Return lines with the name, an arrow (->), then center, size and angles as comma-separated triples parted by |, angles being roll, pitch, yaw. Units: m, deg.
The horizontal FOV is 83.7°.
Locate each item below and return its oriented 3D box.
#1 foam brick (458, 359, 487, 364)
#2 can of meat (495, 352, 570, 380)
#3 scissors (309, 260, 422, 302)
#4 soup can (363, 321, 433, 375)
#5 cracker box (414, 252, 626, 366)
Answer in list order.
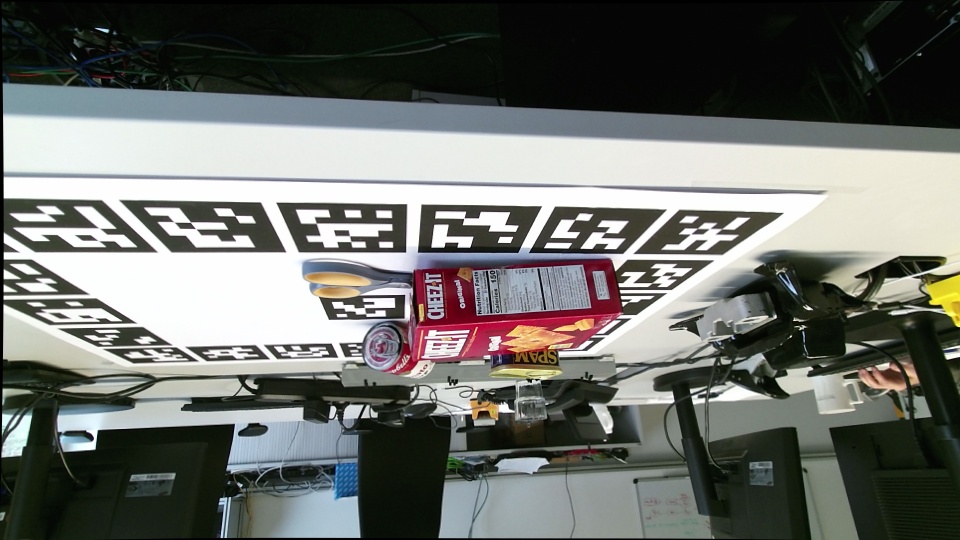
foam brick -> -0.031, 0.103, 0.771 | 0.078, 0.051, 0.053 | -4, 155, 1
can of meat -> 0.070, 0.106, 0.750 | 0.102, 0.083, 0.058 | 7, 153, -21
scissors -> -0.074, 0.010, 0.576 | 0.203, 0.016, 0.088 | -2, 155, -5
soup can -> -0.116, 0.116, 0.783 | 0.068, 0.067, 0.102 | -17, 158, 25
cracker box -> 0.038, 0.053, 0.613 | 0.214, 0.071, 0.164 | -6, 156, -6
